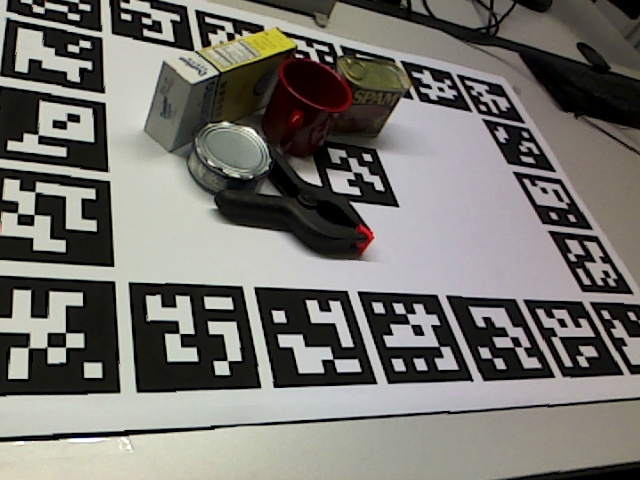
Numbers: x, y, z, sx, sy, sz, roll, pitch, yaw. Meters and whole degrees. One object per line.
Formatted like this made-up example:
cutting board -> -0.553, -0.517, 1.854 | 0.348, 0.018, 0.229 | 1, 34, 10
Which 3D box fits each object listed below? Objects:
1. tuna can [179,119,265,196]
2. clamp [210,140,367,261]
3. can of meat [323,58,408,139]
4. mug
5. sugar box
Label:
tuna can -> -0.104, -0.085, 0.651 | 0.085, 0.034, 0.086 | 16, 48, -18
clamp -> -0.025, -0.032, 0.658 | 0.165, 0.036, 0.122 | 34, 39, -6
can of meat -> 0.048, -0.179, 0.797 | 0.101, 0.084, 0.058 | -2, 53, -34
mug -> -0.025, -0.151, 0.718 | 0.093, 0.081, 0.117 | 25, 46, -11
sugar box -> -0.112, -0.168, 0.686 | 0.045, 0.093, 0.176 | 41, 42, 10
